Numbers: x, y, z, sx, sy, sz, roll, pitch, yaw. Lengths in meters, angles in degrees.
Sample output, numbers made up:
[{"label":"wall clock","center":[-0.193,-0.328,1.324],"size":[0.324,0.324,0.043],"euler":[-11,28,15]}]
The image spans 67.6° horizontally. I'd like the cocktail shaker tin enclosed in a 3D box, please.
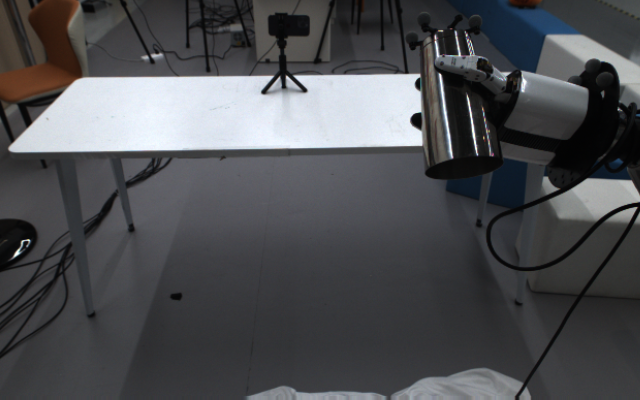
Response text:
[{"label":"cocktail shaker tin","center":[0.168,-0.120,0.601],"size":[0.093,0.093,0.170],"euler":[-3,77,-8]}]
